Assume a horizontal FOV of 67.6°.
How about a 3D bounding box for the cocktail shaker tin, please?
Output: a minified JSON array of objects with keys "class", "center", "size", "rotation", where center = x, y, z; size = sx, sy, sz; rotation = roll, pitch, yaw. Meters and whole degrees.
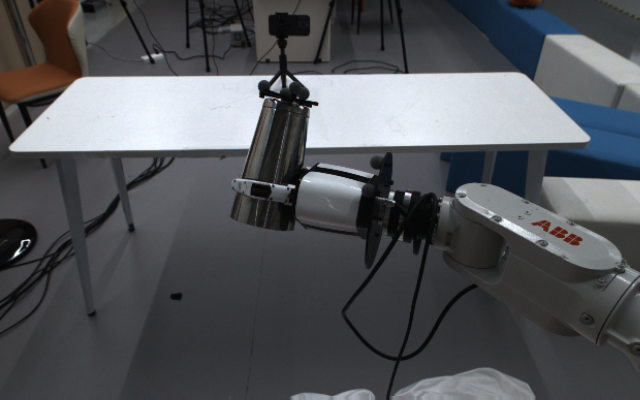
[{"class":"cocktail shaker tin","center":[-0.064,-0.050,0.679],"size":[0.093,0.170,0.093],"rotation":[12,4,-1]}]
